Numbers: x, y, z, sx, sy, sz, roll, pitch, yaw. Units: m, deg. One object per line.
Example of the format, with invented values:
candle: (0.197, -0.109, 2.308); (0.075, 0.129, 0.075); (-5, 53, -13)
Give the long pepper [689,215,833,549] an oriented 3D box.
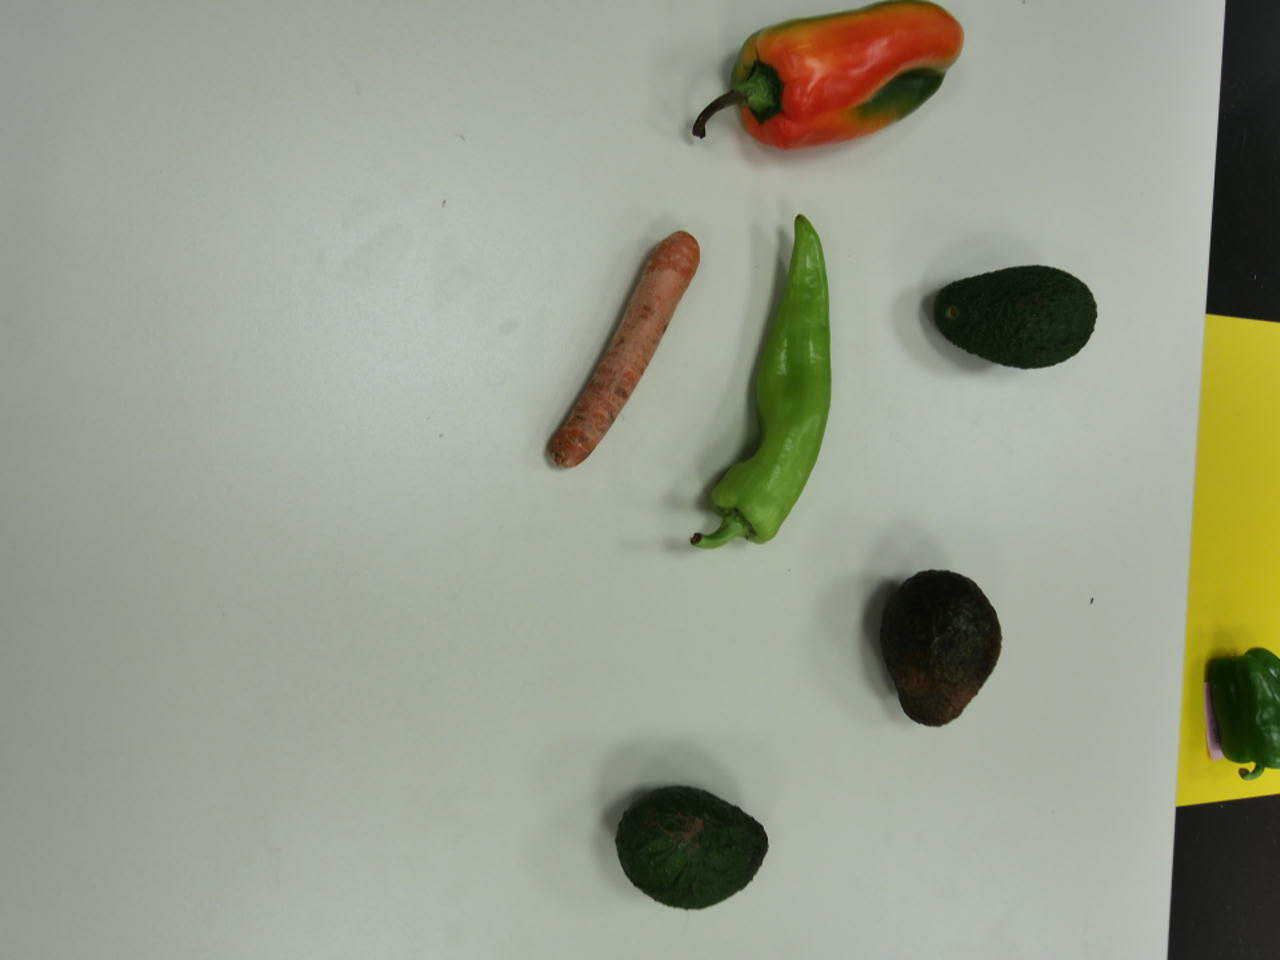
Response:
long pepper: (0.085, -0.050, 0.582); (0.065, 0.045, 0.204); (23, 82, -21)
